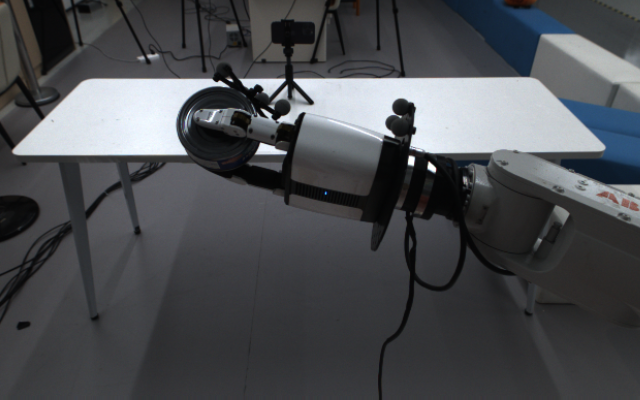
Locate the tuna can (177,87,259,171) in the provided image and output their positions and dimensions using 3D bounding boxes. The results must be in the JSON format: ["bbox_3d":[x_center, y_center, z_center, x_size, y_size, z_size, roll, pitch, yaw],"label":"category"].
[{"bbox_3d":[-0.104,-0.076,0.514,0.085,0.034,0.085,0,74,0],"label":"tuna can"}]
